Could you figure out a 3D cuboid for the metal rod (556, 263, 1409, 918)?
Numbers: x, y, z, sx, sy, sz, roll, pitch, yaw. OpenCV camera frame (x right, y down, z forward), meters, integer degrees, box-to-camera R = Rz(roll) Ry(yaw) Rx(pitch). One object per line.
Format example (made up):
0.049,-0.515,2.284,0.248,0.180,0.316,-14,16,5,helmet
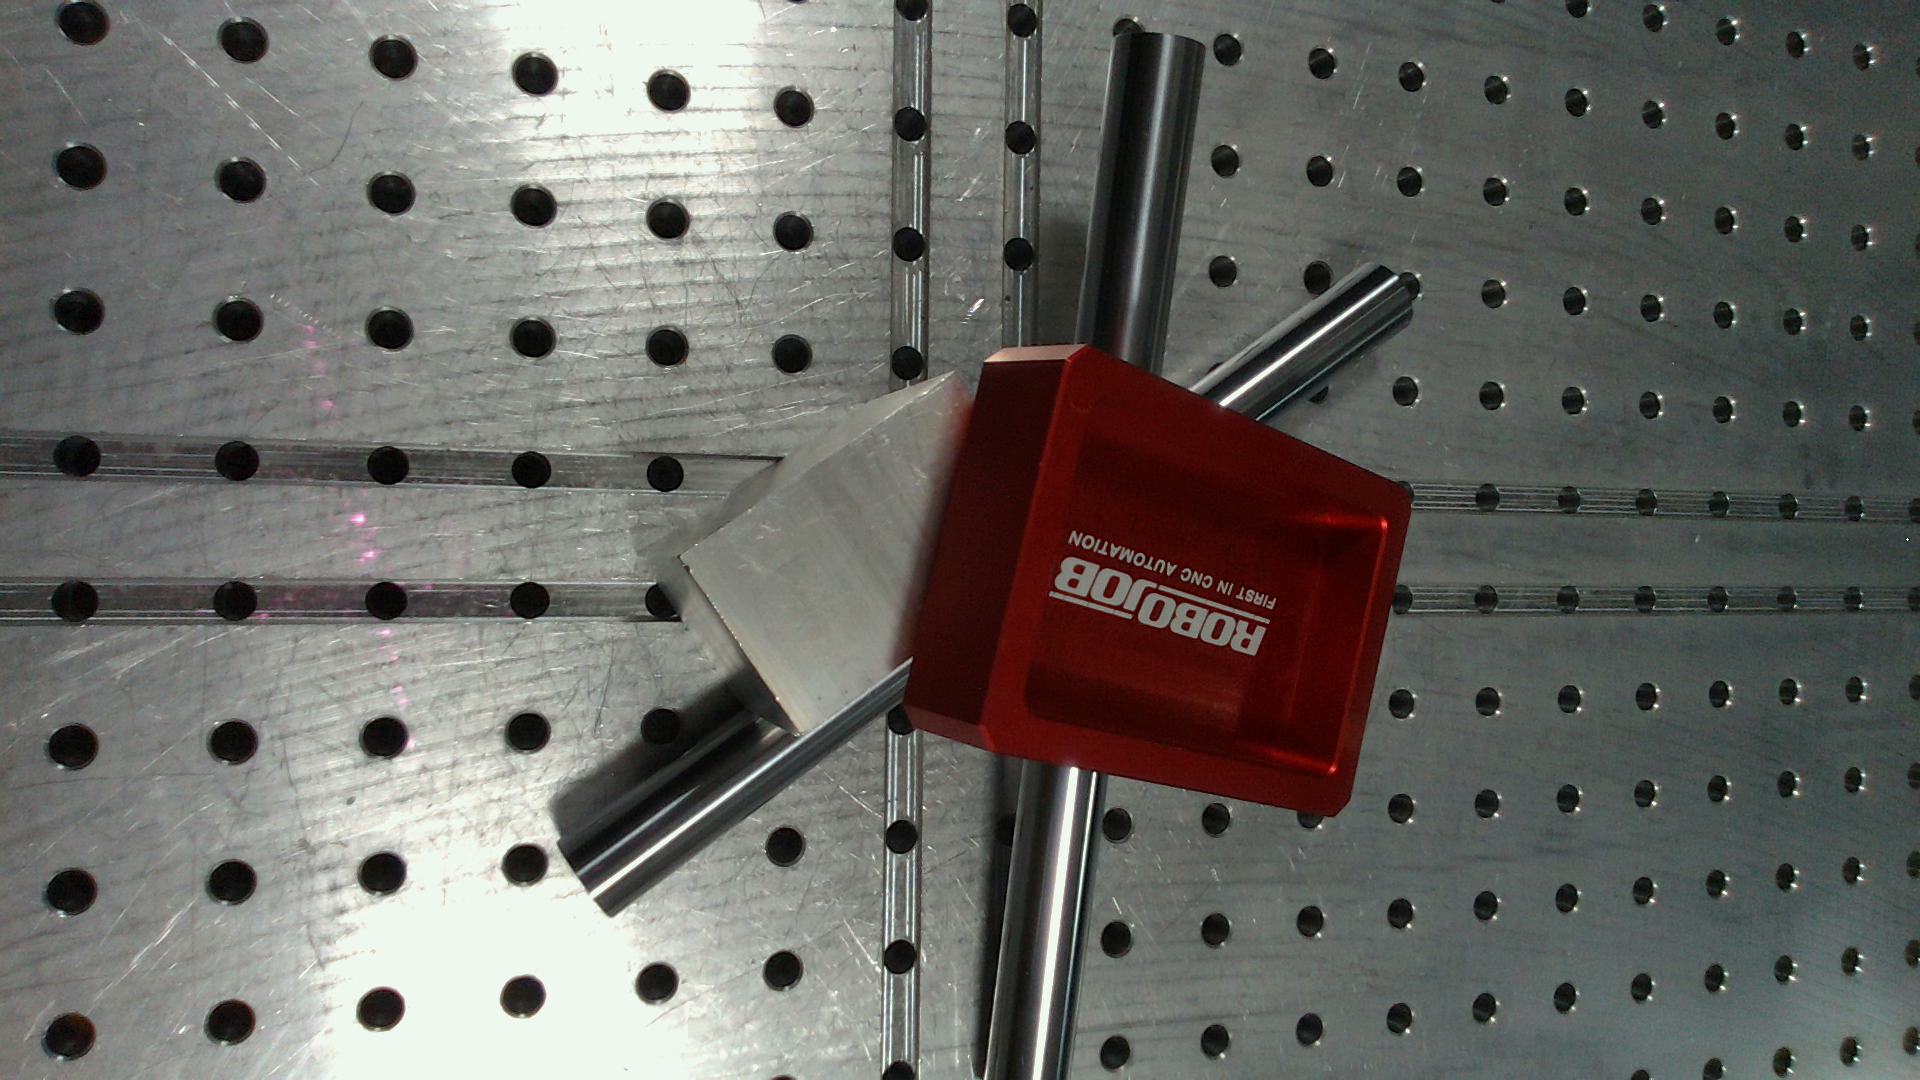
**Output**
0.018,0.005,0.403,0.301,0.025,0.025,-36,101,-16,metal rod

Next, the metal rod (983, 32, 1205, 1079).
0.036,0.016,0.385,0.025,0.025,0.300,4,98,-20,metal rod

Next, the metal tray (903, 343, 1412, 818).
0.054,0.014,0.338,0.131,0.030,0.090,17,84,-38,metal tray

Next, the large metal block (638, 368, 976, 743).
-0.032,0.003,0.355,0.080,0.080,0.050,-36,101,-16,large metal block

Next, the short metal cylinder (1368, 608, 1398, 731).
0.082,0.029,0.411,0.080,0.050,0.080,0,90,-20,short metal cylinder
